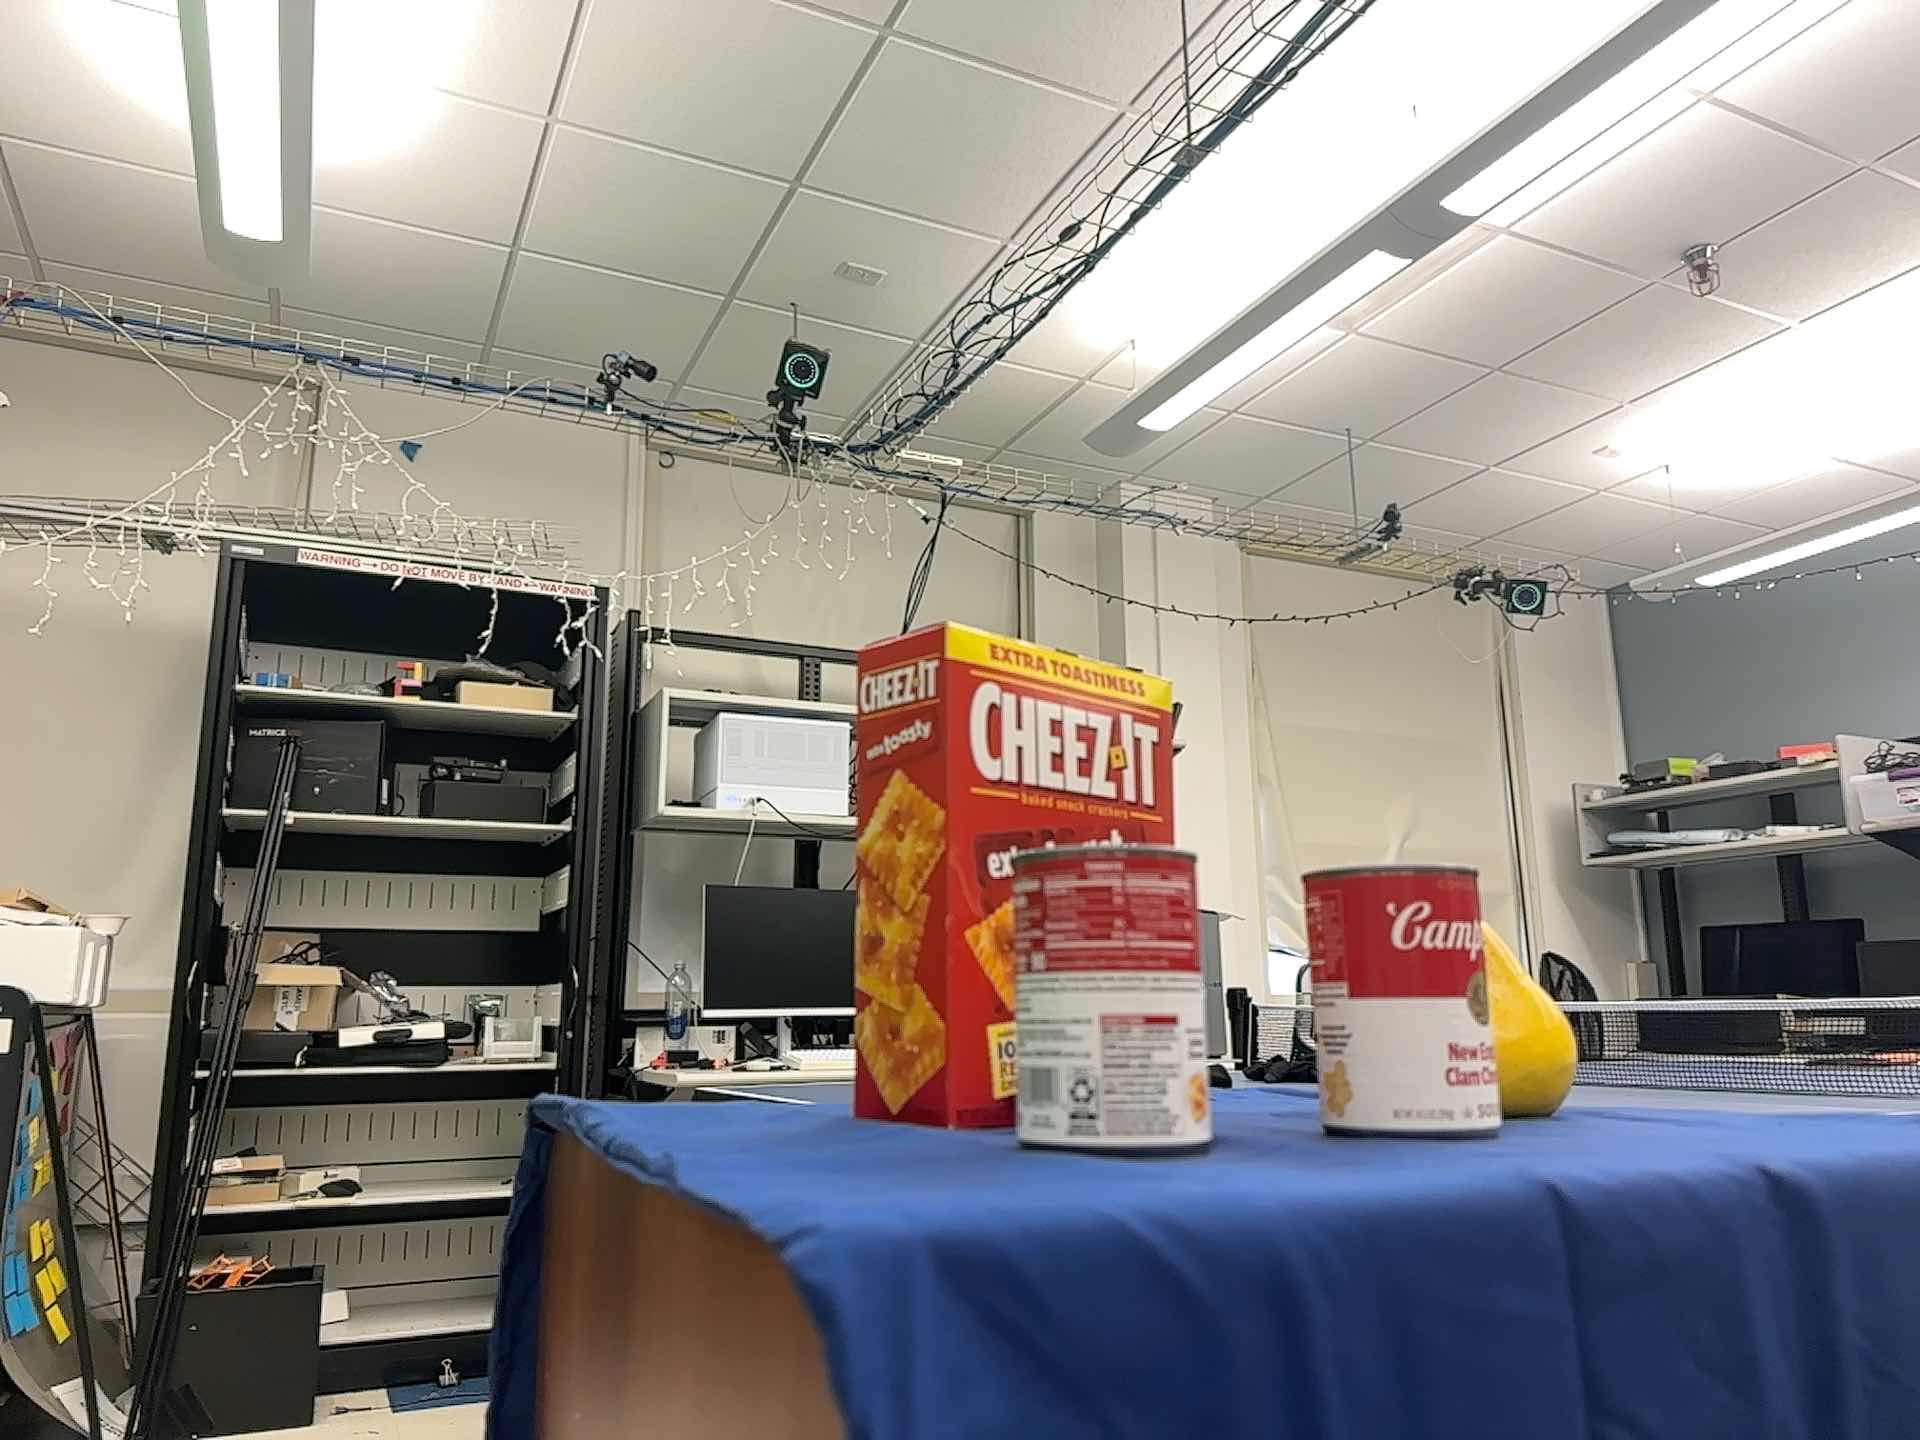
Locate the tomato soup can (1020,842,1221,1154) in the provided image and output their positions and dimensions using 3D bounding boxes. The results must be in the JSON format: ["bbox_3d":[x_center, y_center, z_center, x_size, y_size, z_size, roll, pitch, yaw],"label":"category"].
[{"bbox_3d":[0.056,0.097,0.474,0.067,0.102,0.067,-1,-13,0],"label":"tomato soup can"}]

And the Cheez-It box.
[{"bbox_3d":[0.028,0.077,0.638,0.159,0.214,0.062,11,-15,-42],"label":"Cheez-It box"}]

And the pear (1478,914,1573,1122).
[{"bbox_3d":[0.240,0.128,0.627,0.080,0.111,0.080,2,-12,0],"label":"pear"}]

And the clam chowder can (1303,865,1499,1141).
[{"bbox_3d":[0.175,0.112,0.537,0.068,0.102,0.068,-1,-12,0],"label":"clam chowder can"}]
